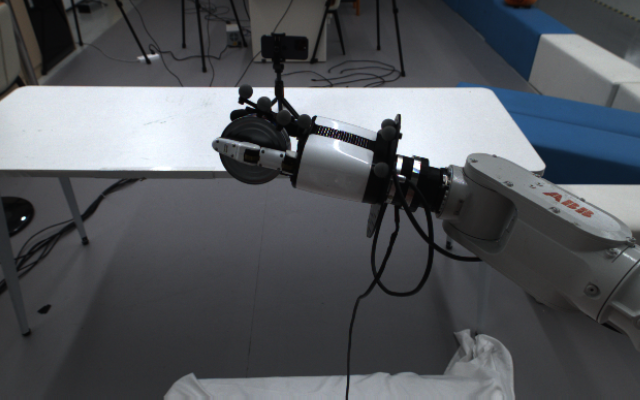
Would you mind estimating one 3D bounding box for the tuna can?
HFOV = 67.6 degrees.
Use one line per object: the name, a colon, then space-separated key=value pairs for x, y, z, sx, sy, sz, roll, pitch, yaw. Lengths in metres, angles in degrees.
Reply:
tuna can: x=-0.079 y=-0.065 z=0.605 sx=0.085 sy=0.085 sz=0.034 roll=7 pitch=16 yaw=6
